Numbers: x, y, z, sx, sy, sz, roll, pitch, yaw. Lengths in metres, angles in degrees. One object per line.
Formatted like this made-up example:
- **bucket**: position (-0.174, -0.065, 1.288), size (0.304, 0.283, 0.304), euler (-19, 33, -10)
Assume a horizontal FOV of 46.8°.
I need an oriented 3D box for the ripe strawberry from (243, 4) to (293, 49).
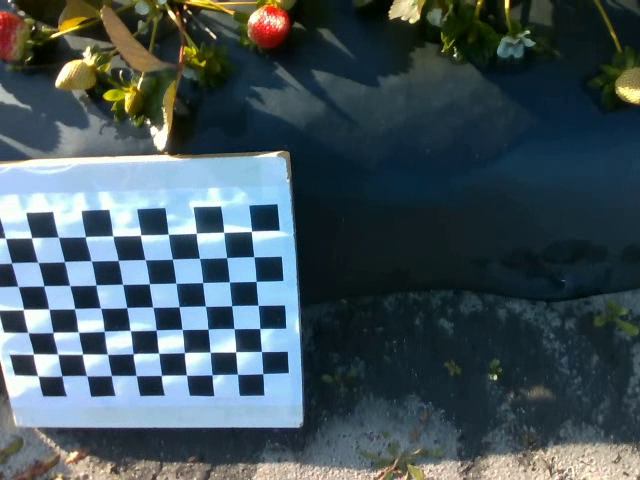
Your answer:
- **ripe strawberry**: position (-0.030, -0.153, 0.525), size (0.042, 0.037, 0.045), euler (-28, 21, -16)
